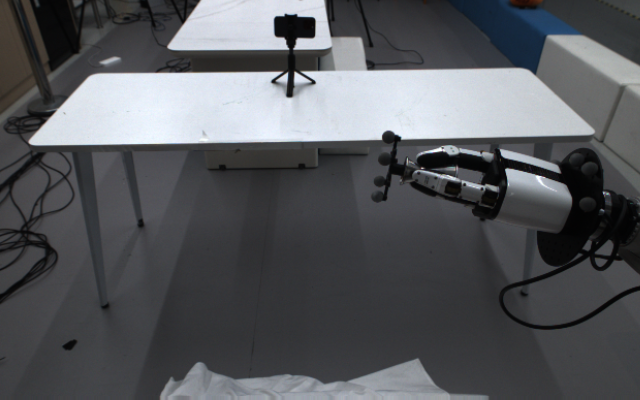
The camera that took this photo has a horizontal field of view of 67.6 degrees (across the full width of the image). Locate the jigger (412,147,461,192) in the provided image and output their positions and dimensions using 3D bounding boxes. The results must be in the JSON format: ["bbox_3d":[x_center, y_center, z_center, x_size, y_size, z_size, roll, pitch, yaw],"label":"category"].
[{"bbox_3d":[0.151,-0.035,0.649,0.071,0.043,0.043,11,35,3],"label":"jigger"}]
